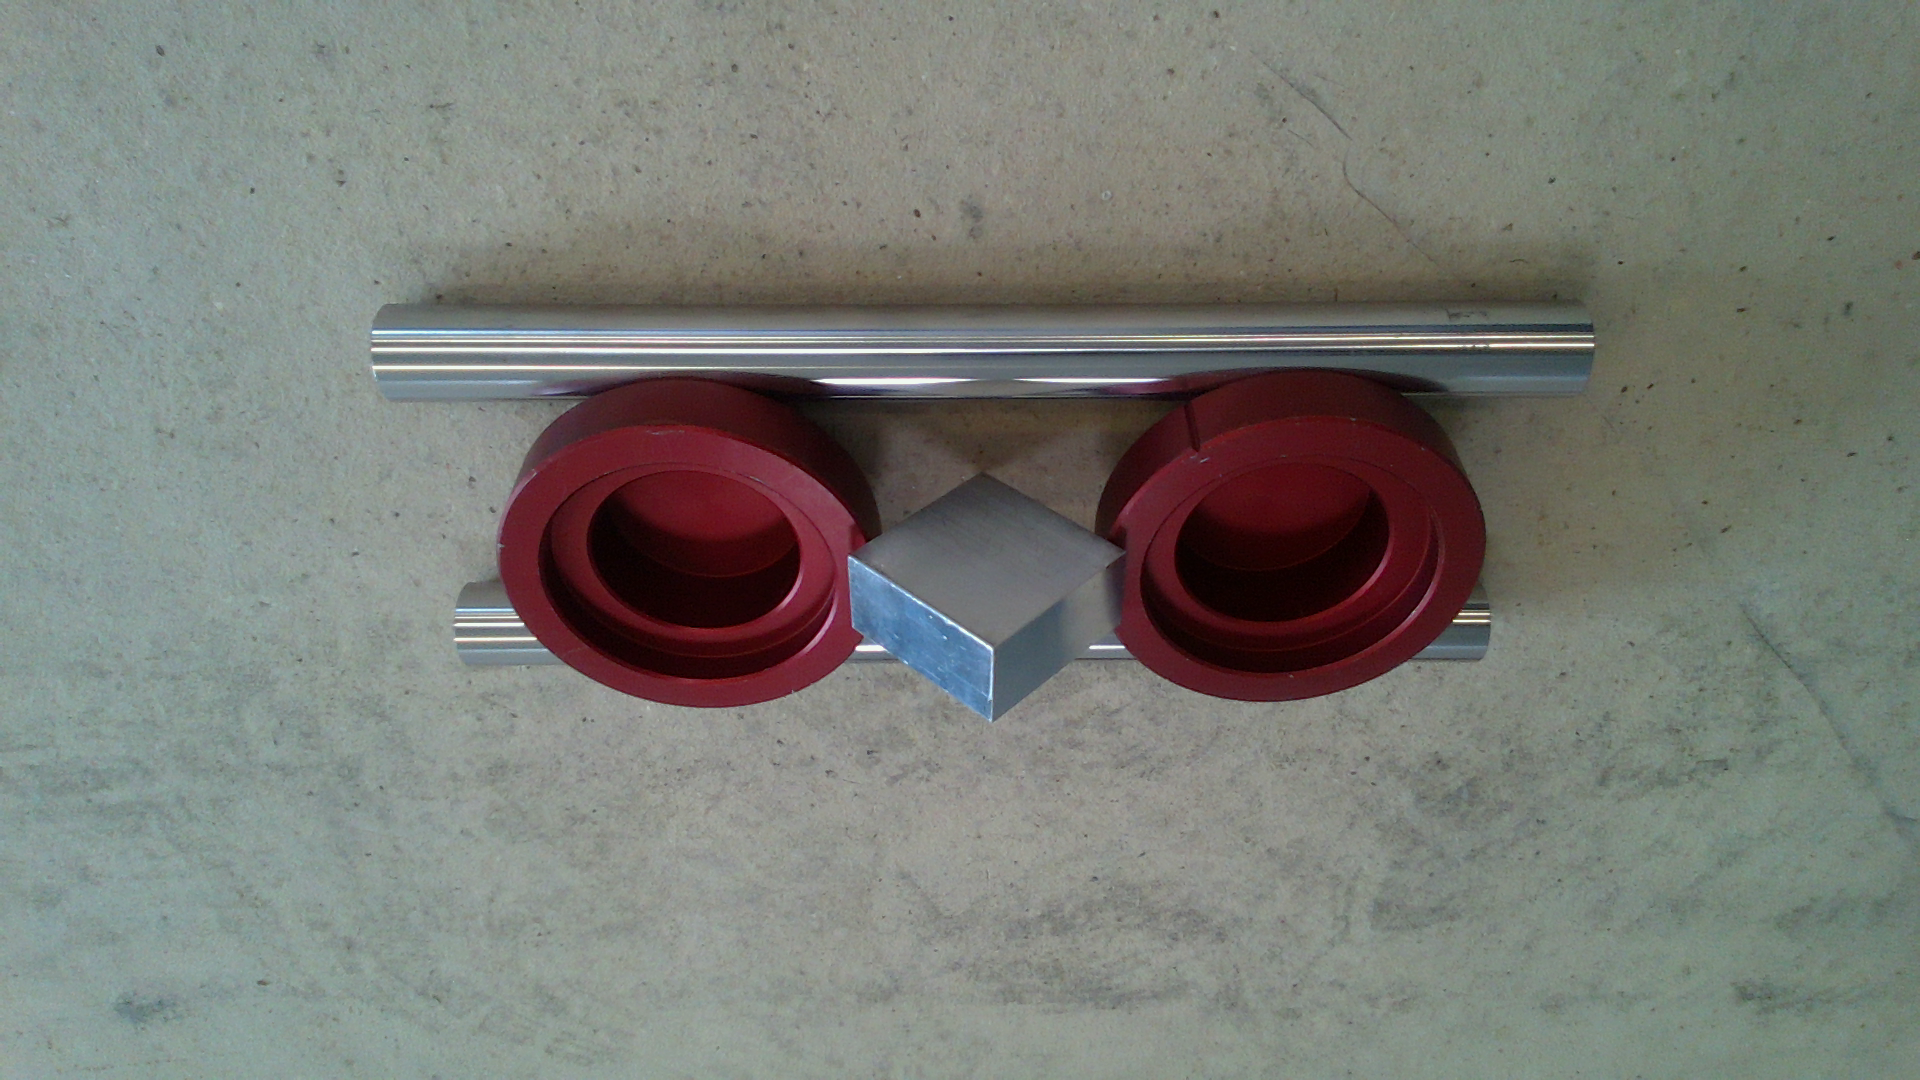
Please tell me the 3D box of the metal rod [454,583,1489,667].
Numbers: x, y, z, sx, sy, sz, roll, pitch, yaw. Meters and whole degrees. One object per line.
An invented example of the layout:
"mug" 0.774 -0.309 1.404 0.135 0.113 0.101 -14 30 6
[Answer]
"metal rod" 0.004 0.025 0.411 0.300 0.025 0.025 0 130 0

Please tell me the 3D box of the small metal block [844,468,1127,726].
"small metal block" 0.006 0.013 0.351 0.050 0.050 0.025 31 138 32

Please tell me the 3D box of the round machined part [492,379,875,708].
"round machined part" -0.071 -0.003 0.371 0.098 0.042 0.098 0 130 0

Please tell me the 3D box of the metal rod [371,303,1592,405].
"metal rod" 0.006 -0.047 0.350 0.300 0.025 0.025 0 130 0

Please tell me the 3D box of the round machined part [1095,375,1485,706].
"round machined part" 0.085 -0.004 0.370 0.098 0.042 0.098 0 130 0
